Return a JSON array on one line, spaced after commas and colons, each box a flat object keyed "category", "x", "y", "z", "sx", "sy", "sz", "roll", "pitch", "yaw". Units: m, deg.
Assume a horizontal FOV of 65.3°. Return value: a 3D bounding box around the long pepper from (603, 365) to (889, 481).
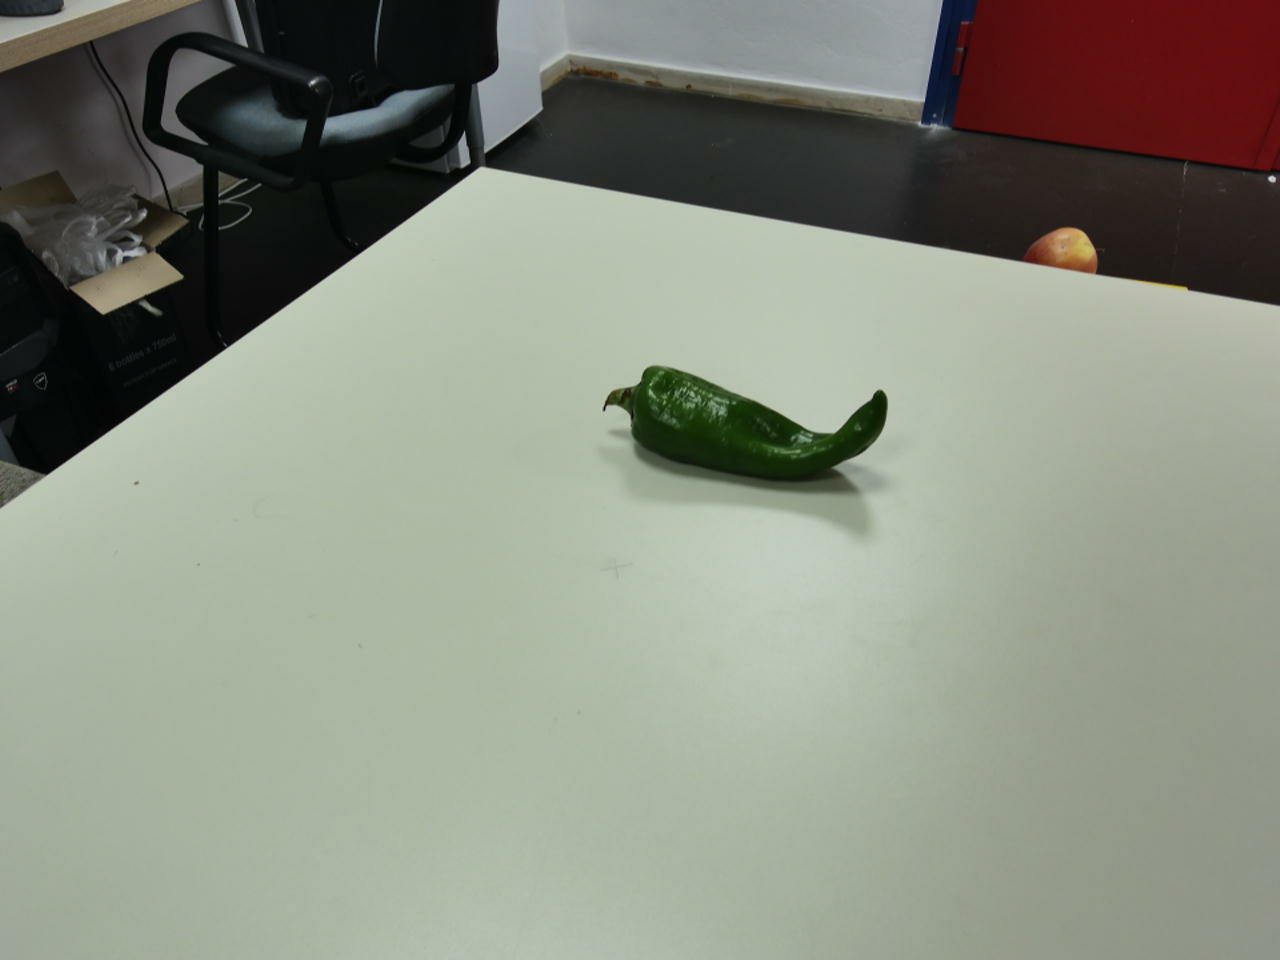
[{"category": "long pepper", "x": 0.058, "y": -0.038, "z": 0.606, "sx": 0.175, "sy": 0.065, "sz": 0.058, "roll": 15, "pitch": 41, "yaw": 18}]
